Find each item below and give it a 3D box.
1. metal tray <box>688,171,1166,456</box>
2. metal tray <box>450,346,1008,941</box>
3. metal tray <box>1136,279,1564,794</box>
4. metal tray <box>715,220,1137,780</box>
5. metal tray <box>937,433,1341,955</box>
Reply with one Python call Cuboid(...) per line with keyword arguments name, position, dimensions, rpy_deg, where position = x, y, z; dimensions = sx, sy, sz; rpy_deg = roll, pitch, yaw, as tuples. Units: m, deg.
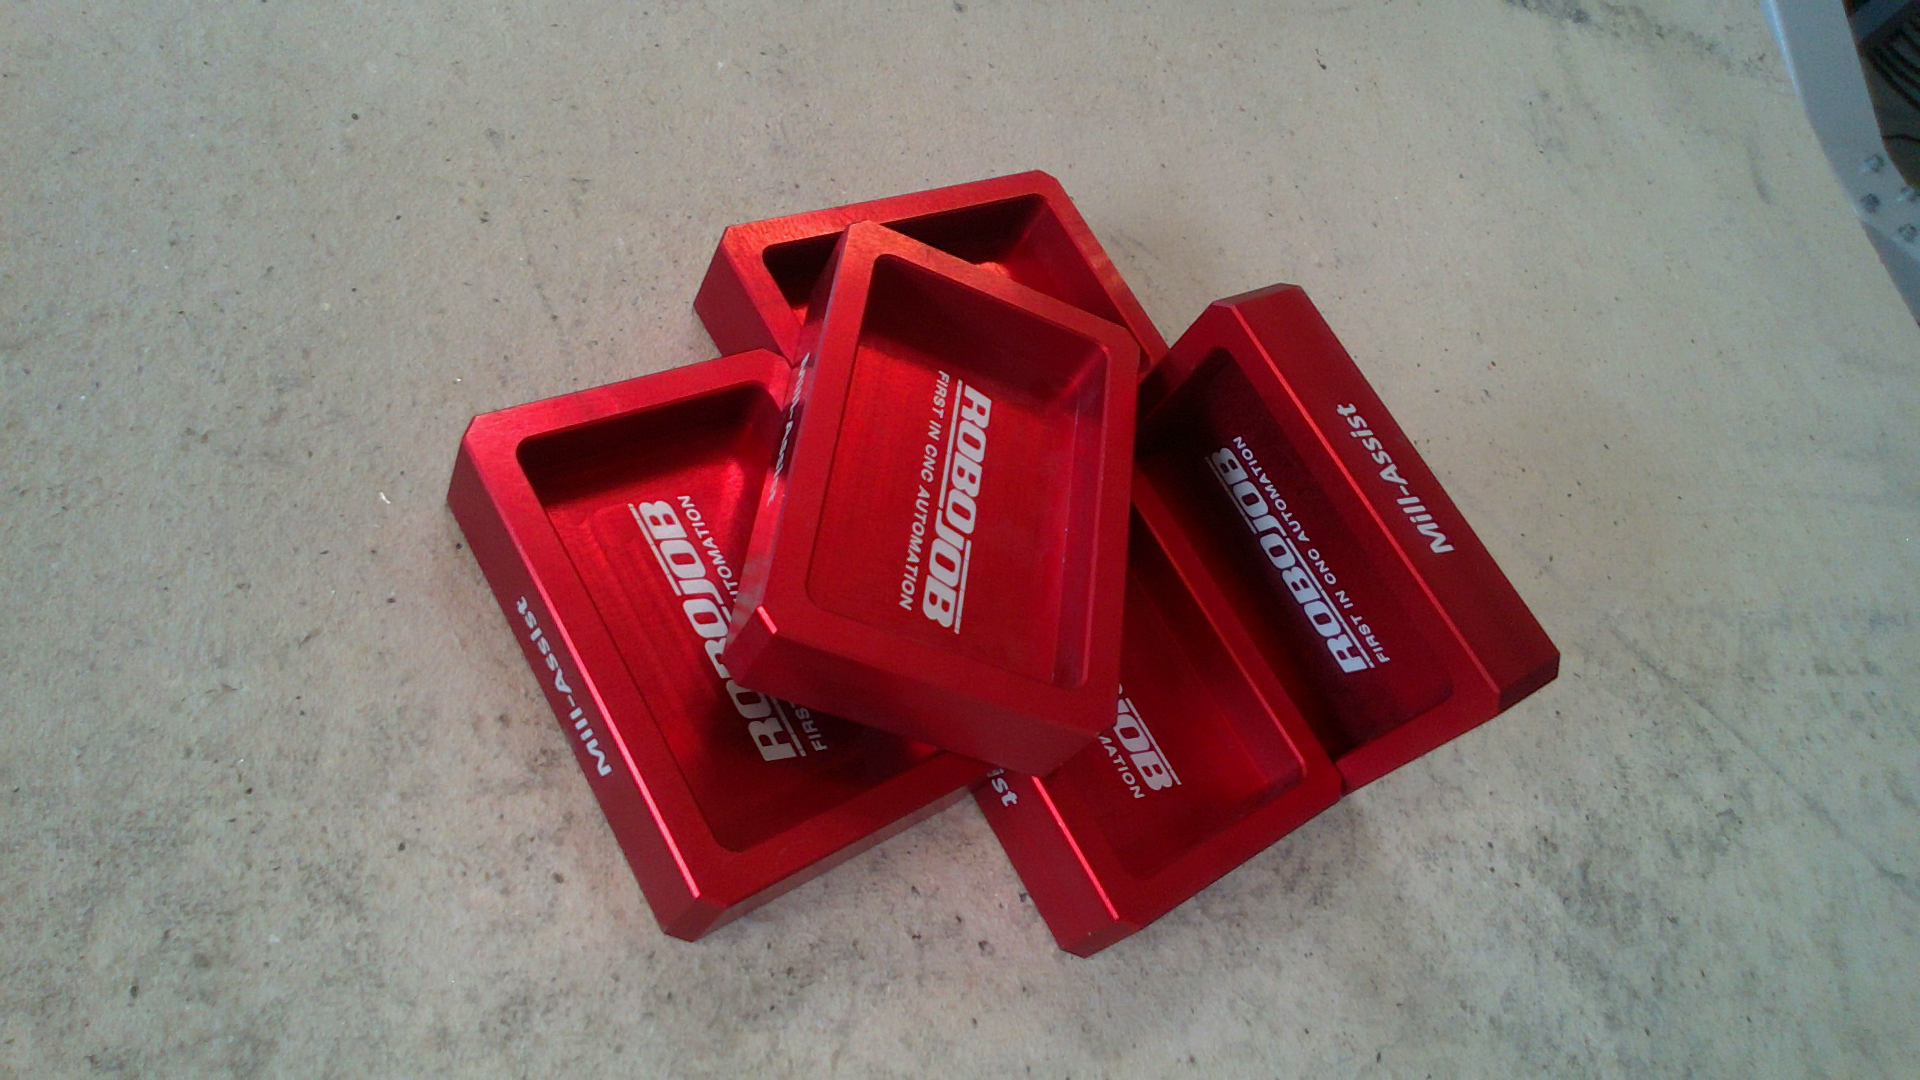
Cuboid(name="metal tray", position=(-0.005, -0.062, 0.423), dimensions=(0.130, 0.030, 0.090), rpy_deg=(-20, 72, -35))
Cuboid(name="metal tray", position=(-0.057, 0.020, 0.343), dimensions=(0.090, 0.030, 0.130), rpy_deg=(-21, 72, -35))
Cuboid(name="metal tray", position=(0.097, 0.003, 0.395), dimensions=(0.030, 0.090, 0.130), rpy_deg=(-20, 72, -36))
Cuboid(name="metal tray", position=(-0.003, -0.013, 0.356), dimensions=(0.090, 0.030, 0.130), rpy_deg=(19, 55, -16))
Cuboid(name="metal tray", position=(0.037, 0.035, 0.383), dimensions=(0.090, 0.030, 0.130), rpy_deg=(-21, 74, -35))
